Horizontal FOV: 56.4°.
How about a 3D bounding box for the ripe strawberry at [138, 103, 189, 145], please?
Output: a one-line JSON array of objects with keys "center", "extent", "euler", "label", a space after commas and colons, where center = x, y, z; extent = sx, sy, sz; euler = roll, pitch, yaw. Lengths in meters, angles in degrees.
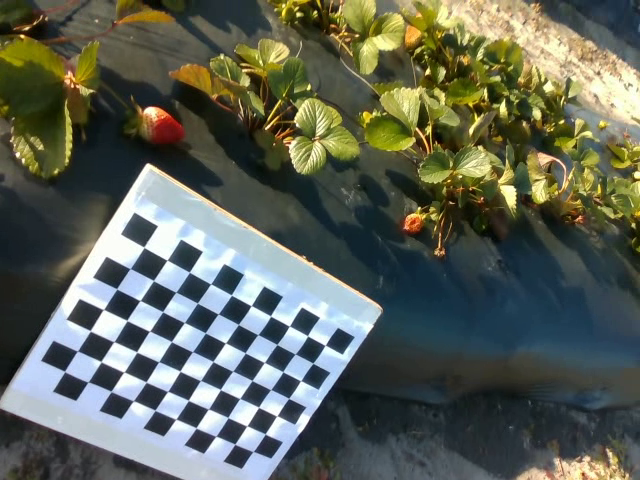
[{"center": [-0.170, -0.125, 0.661], "extent": [0.063, 0.045, 0.043], "euler": [13, 11, -24], "label": "ripe strawberry"}]
